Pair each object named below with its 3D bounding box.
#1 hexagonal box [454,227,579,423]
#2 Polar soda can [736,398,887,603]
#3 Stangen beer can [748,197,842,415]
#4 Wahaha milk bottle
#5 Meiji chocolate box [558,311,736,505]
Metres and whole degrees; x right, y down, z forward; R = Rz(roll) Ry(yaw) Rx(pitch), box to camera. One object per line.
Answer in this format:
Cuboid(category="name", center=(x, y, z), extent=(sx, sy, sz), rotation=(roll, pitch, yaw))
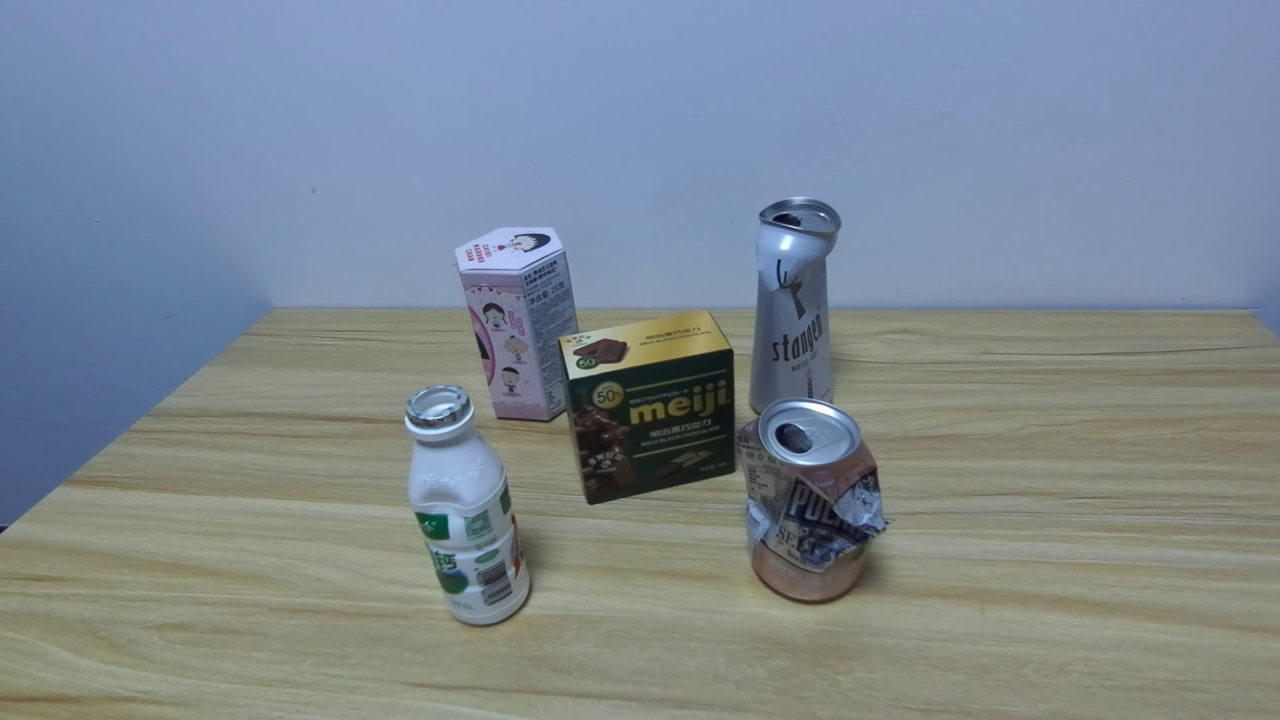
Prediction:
Cuboid(category="hexagonal box", center=(-0.093, -0.028, 0.569), extent=(0.084, 0.136, 0.091), rotation=(-14, 33, -12))
Cuboid(category="Polar soda can", center=(0.096, 0.080, 0.399), extent=(0.074, 0.114, 0.070), rotation=(-6, 37, 5))
Cuboid(category="Stangen beer can", center=(0.113, -0.032, 0.518), extent=(0.066, 0.162, 0.077), rotation=(-8, 33, -3))
Cuboid(category="Wahaha milk bottle", center=(-0.097, 0.088, 0.396), extent=(0.053, 0.137, 0.053), rotation=(-4, 32, 3))
Cuboid(category="Meiji chocolate box", center=(0.006, 0.033, 0.485), extent=(0.110, 0.109, 0.056), rotation=(-11, 35, -8))
